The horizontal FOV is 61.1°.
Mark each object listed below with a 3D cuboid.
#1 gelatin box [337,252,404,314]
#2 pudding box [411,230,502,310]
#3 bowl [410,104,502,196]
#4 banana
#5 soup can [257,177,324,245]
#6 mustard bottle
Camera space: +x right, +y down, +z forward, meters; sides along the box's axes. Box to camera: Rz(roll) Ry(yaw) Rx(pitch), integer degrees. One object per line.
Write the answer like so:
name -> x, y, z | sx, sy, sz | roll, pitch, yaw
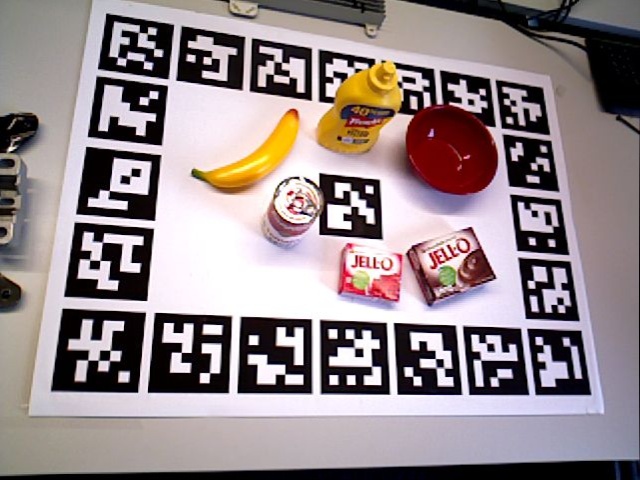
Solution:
gelatin box -> 0.072, 0.061, 0.778 | 0.088, 0.030, 0.073 | 11, 72, -11
pudding box -> 0.204, 0.044, 0.816 | 0.112, 0.039, 0.090 | -20, 83, -21
bowl -> 0.209, -0.134, 0.873 | 0.160, 0.056, 0.160 | 5, 70, -13
banana -> -0.095, -0.137, 0.794 | 0.074, 0.039, 0.194 | 40, 65, 11
soup can -> -0.043, -0.042, 0.731 | 0.067, 0.104, 0.067 | 6, 67, -16
mustard bottle -> 0.069, -0.193, 0.762 | 0.095, 0.195, 0.058 | 5, 66, -15
